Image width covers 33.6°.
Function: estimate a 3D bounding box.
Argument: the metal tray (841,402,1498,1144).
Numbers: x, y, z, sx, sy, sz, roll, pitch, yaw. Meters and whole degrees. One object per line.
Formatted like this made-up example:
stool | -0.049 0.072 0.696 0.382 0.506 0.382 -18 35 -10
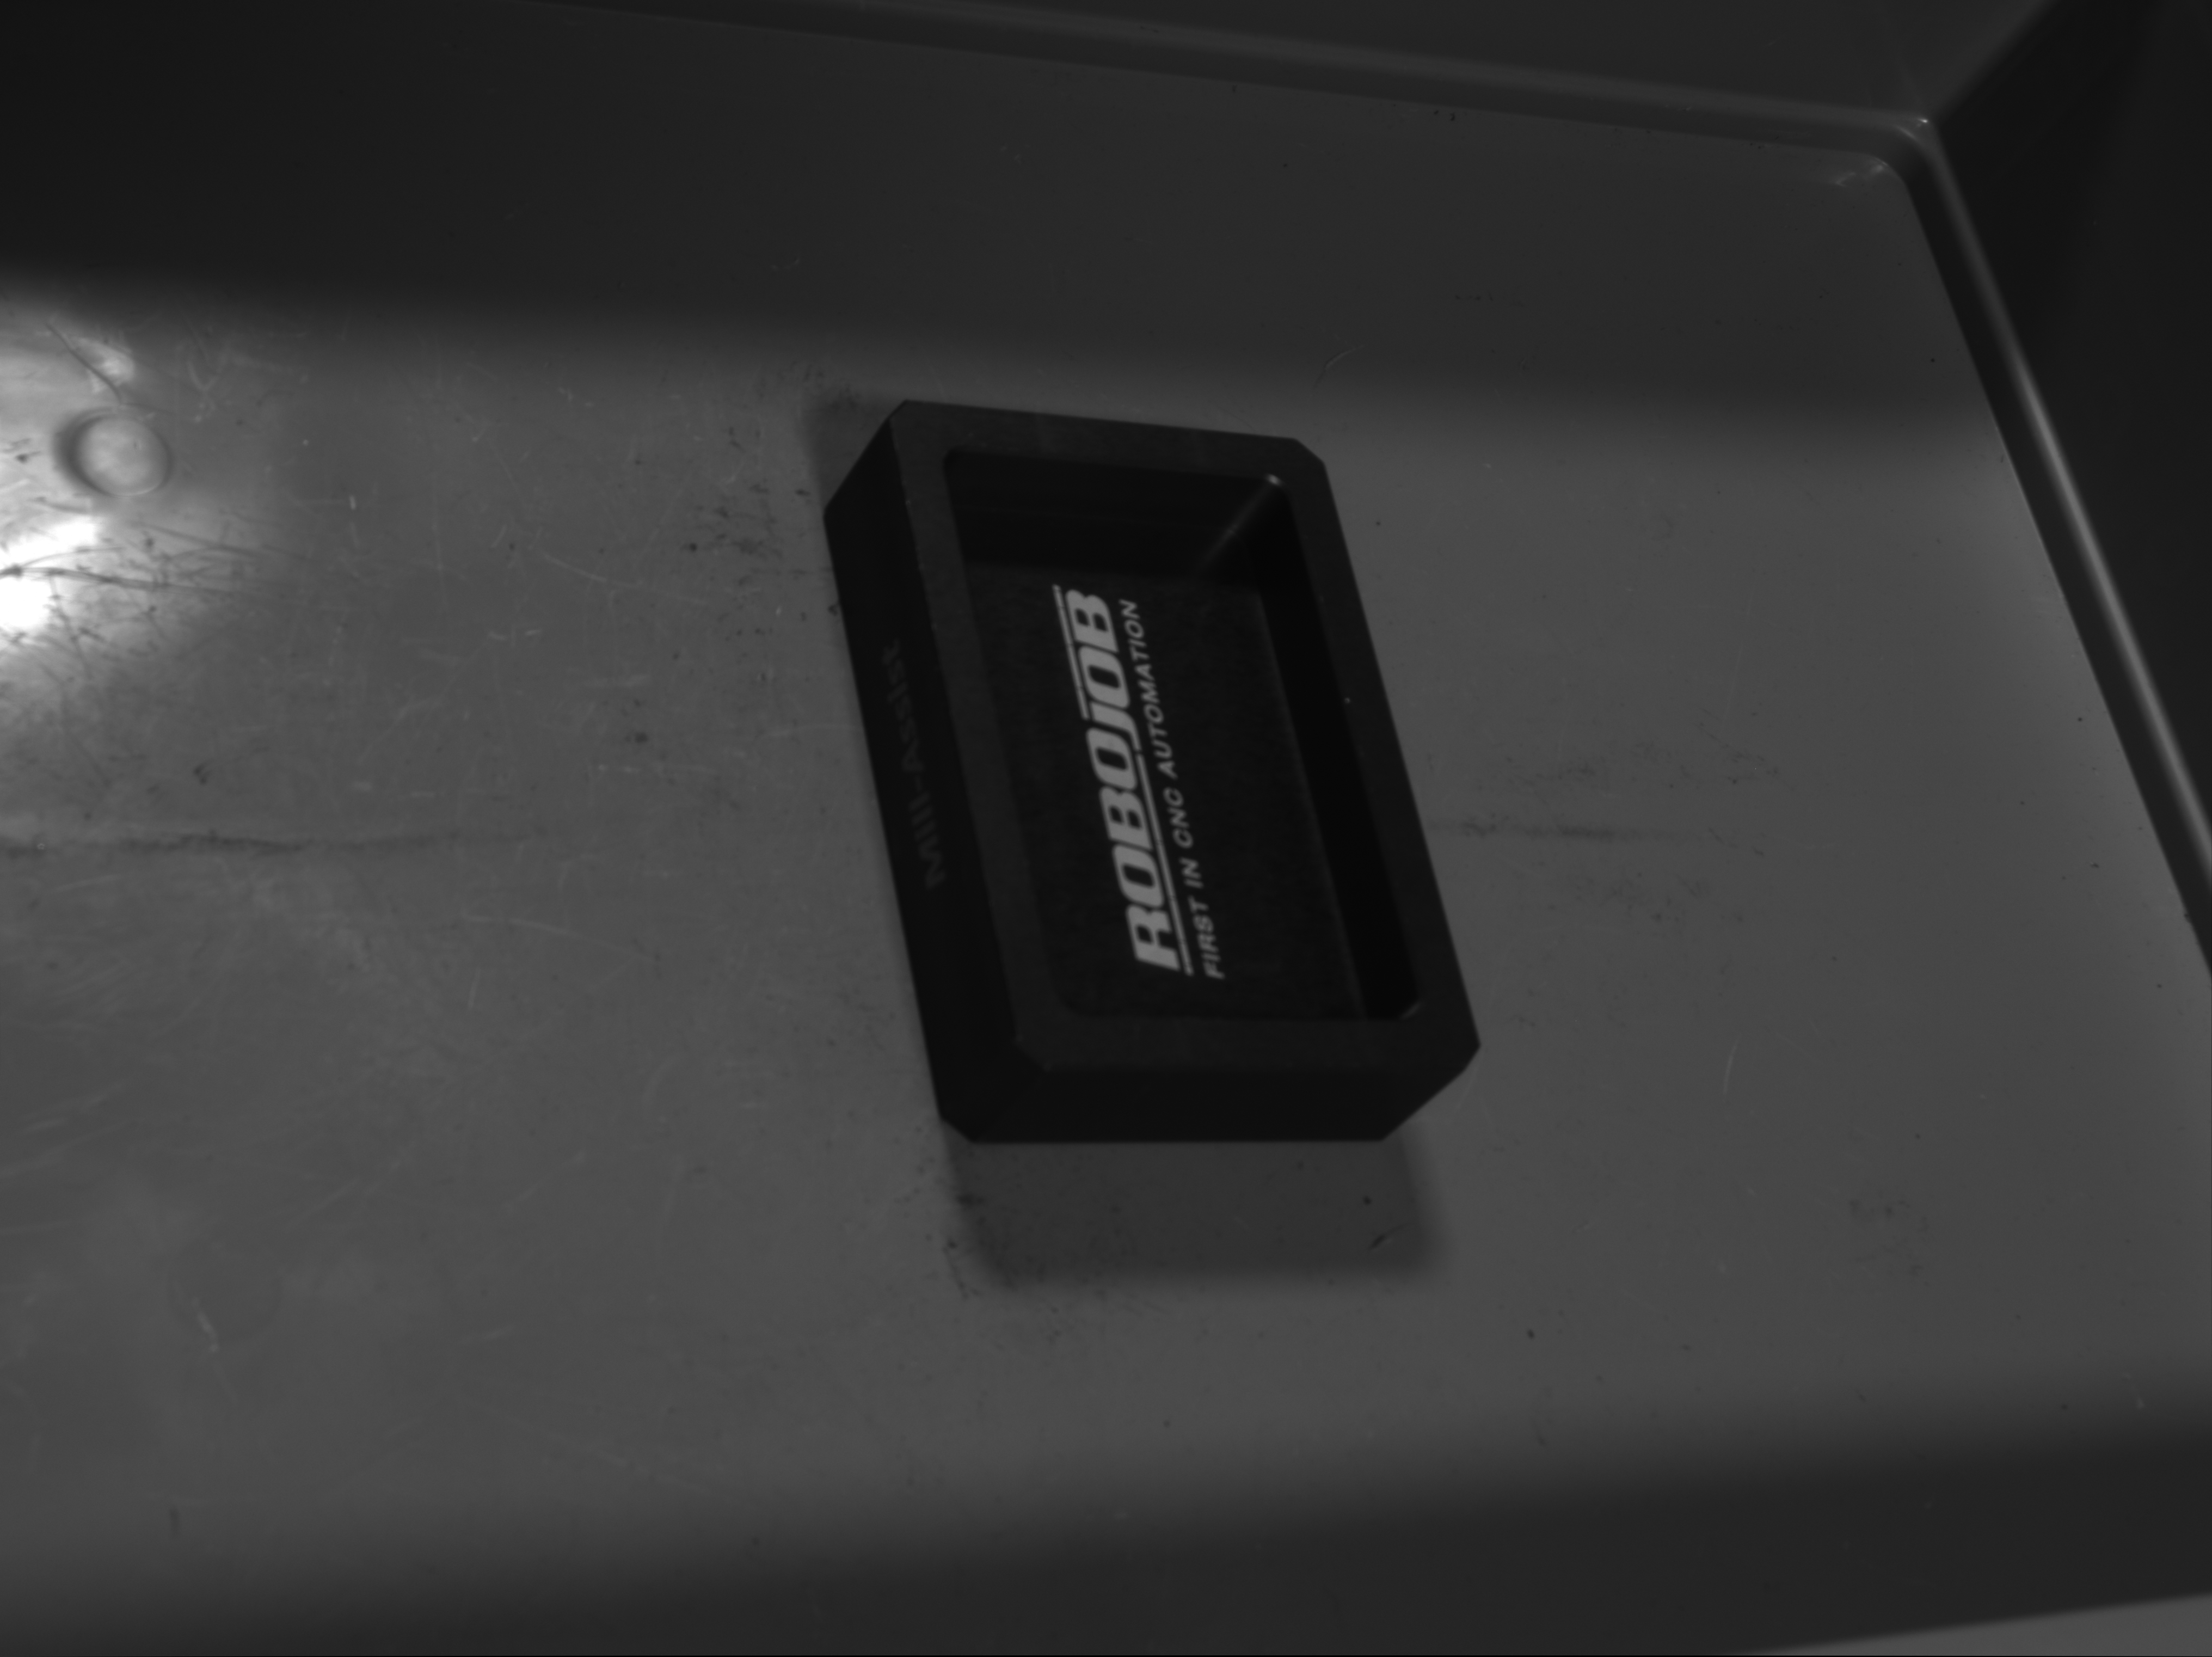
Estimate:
metal tray | 0.010 -0.010 0.645 0.090 0.030 0.130 2 60 -28
